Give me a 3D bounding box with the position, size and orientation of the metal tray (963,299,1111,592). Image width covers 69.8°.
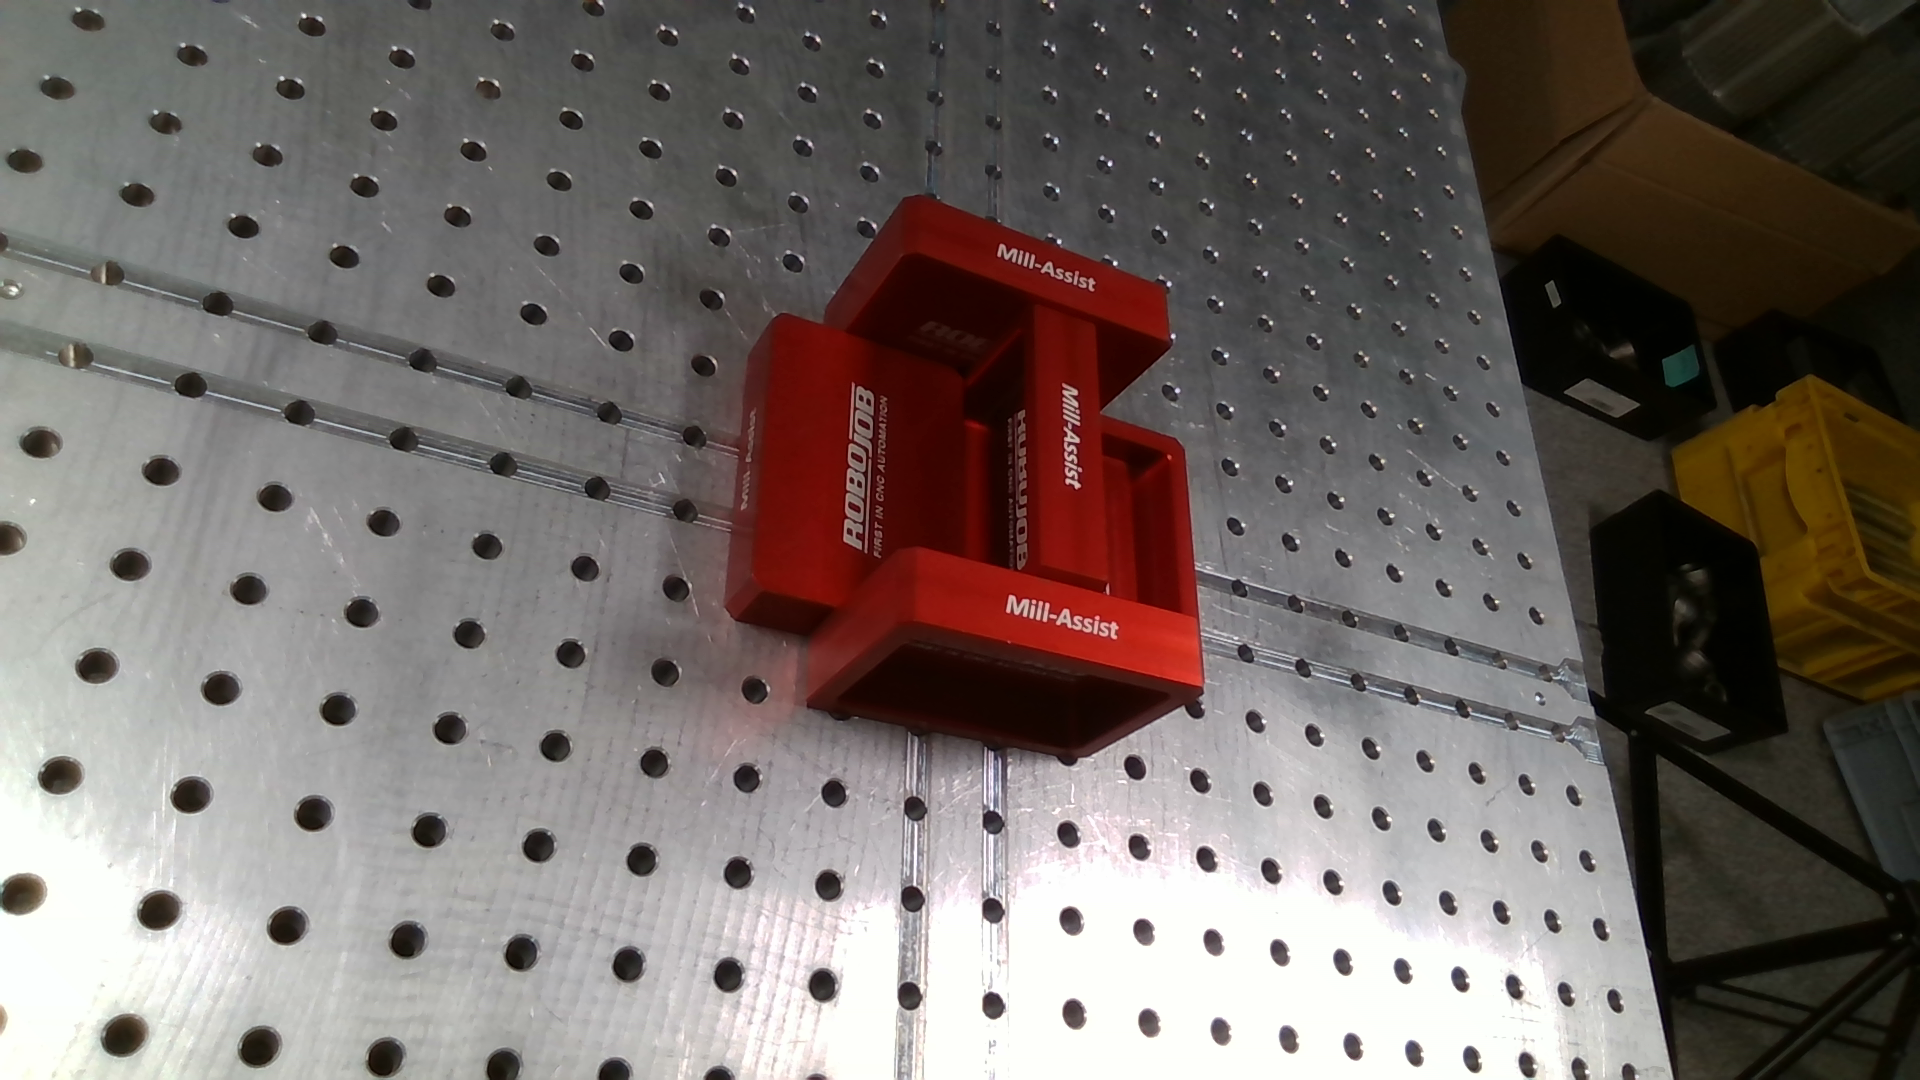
[{"bbox_3d":[0.023,-0.023,0.571,0.030,0.090,0.130,15,58,-24],"label":"metal tray"}]

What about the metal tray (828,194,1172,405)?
[{"bbox_3d":[0.015,-0.094,0.606,0.130,0.090,0.030,15,58,-24],"label":"metal tray"}]

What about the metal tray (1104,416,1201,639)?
[{"bbox_3d":[0.061,0.005,0.620,0.090,0.030,0.130,15,58,-25],"label":"metal tray"}]

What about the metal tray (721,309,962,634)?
[{"bbox_3d":[-0.046,-0.024,0.569,0.090,0.030,0.130,15,58,-25],"label":"metal tray"}]

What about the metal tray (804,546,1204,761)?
[{"bbox_3d":[0.016,0.048,0.531,0.130,0.090,0.030,15,58,-24],"label":"metal tray"}]
